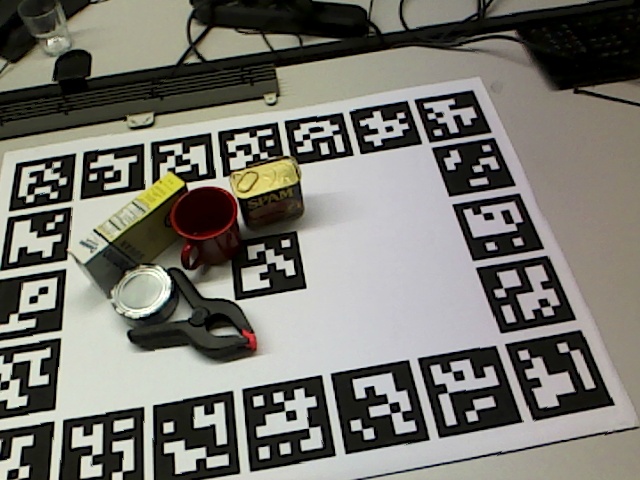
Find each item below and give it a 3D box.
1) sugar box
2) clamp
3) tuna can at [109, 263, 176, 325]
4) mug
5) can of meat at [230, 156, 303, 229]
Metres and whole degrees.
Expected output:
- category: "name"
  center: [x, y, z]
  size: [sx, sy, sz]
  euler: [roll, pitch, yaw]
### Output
- category: "sugar box"
  center: [-0.260, -0.007, 0.891]
  size: [0.045, 0.092, 0.176]
  euler: [34, 64, 25]
- category: "clamp"
  center: [-0.159, 0.111, 0.839]
  size: [0.165, 0.036, 0.122]
  euler: [21, 56, 13]
- category: "tuna can"
  center: [-0.246, 0.077, 0.862]
  size: [0.086, 0.033, 0.086]
  euler: [-2, 58, 3]
- category: "mug"
  center: [-0.166, -0.013, 0.885]
  size: [0.093, 0.081, 0.117]
  euler: [11, 60, 10]
- category: "can of meat"
  center: [-0.077, -0.069, 0.924]
  size: [0.101, 0.083, 0.058]
  euler: [-17, 56, -9]
